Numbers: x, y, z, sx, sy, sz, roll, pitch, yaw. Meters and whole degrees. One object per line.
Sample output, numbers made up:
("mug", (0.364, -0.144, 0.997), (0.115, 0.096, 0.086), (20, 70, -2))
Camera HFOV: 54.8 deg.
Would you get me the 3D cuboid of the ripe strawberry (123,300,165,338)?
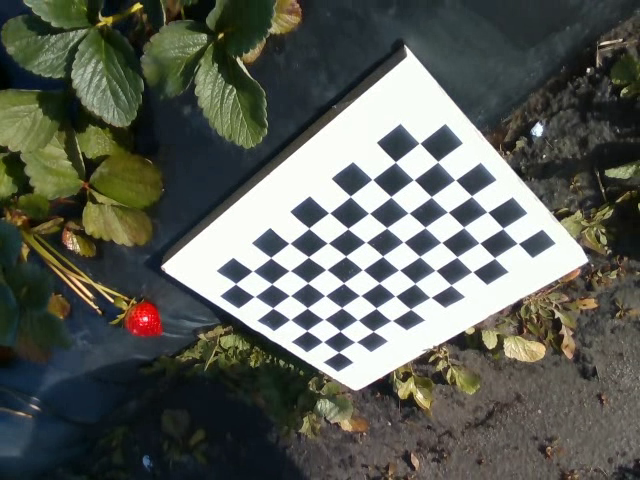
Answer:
("ripe strawberry", (-0.165, 0.078, 0.584), (0.044, 0.040, 0.037), (29, 36, -8))
